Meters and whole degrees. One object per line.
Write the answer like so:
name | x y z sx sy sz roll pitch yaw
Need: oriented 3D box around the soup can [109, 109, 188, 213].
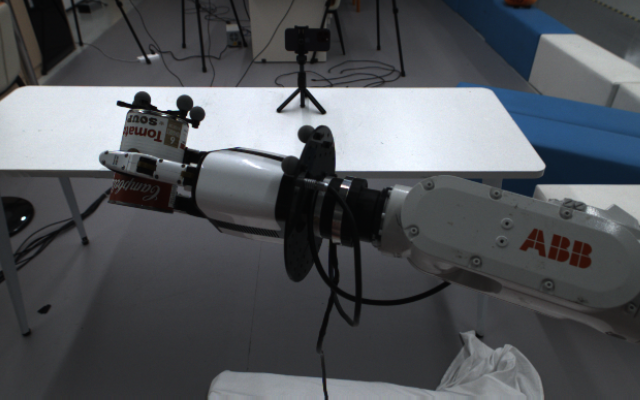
soup can | -0.185 -0.039 0.530 0.067 0.101 0.067 9 -5 1
